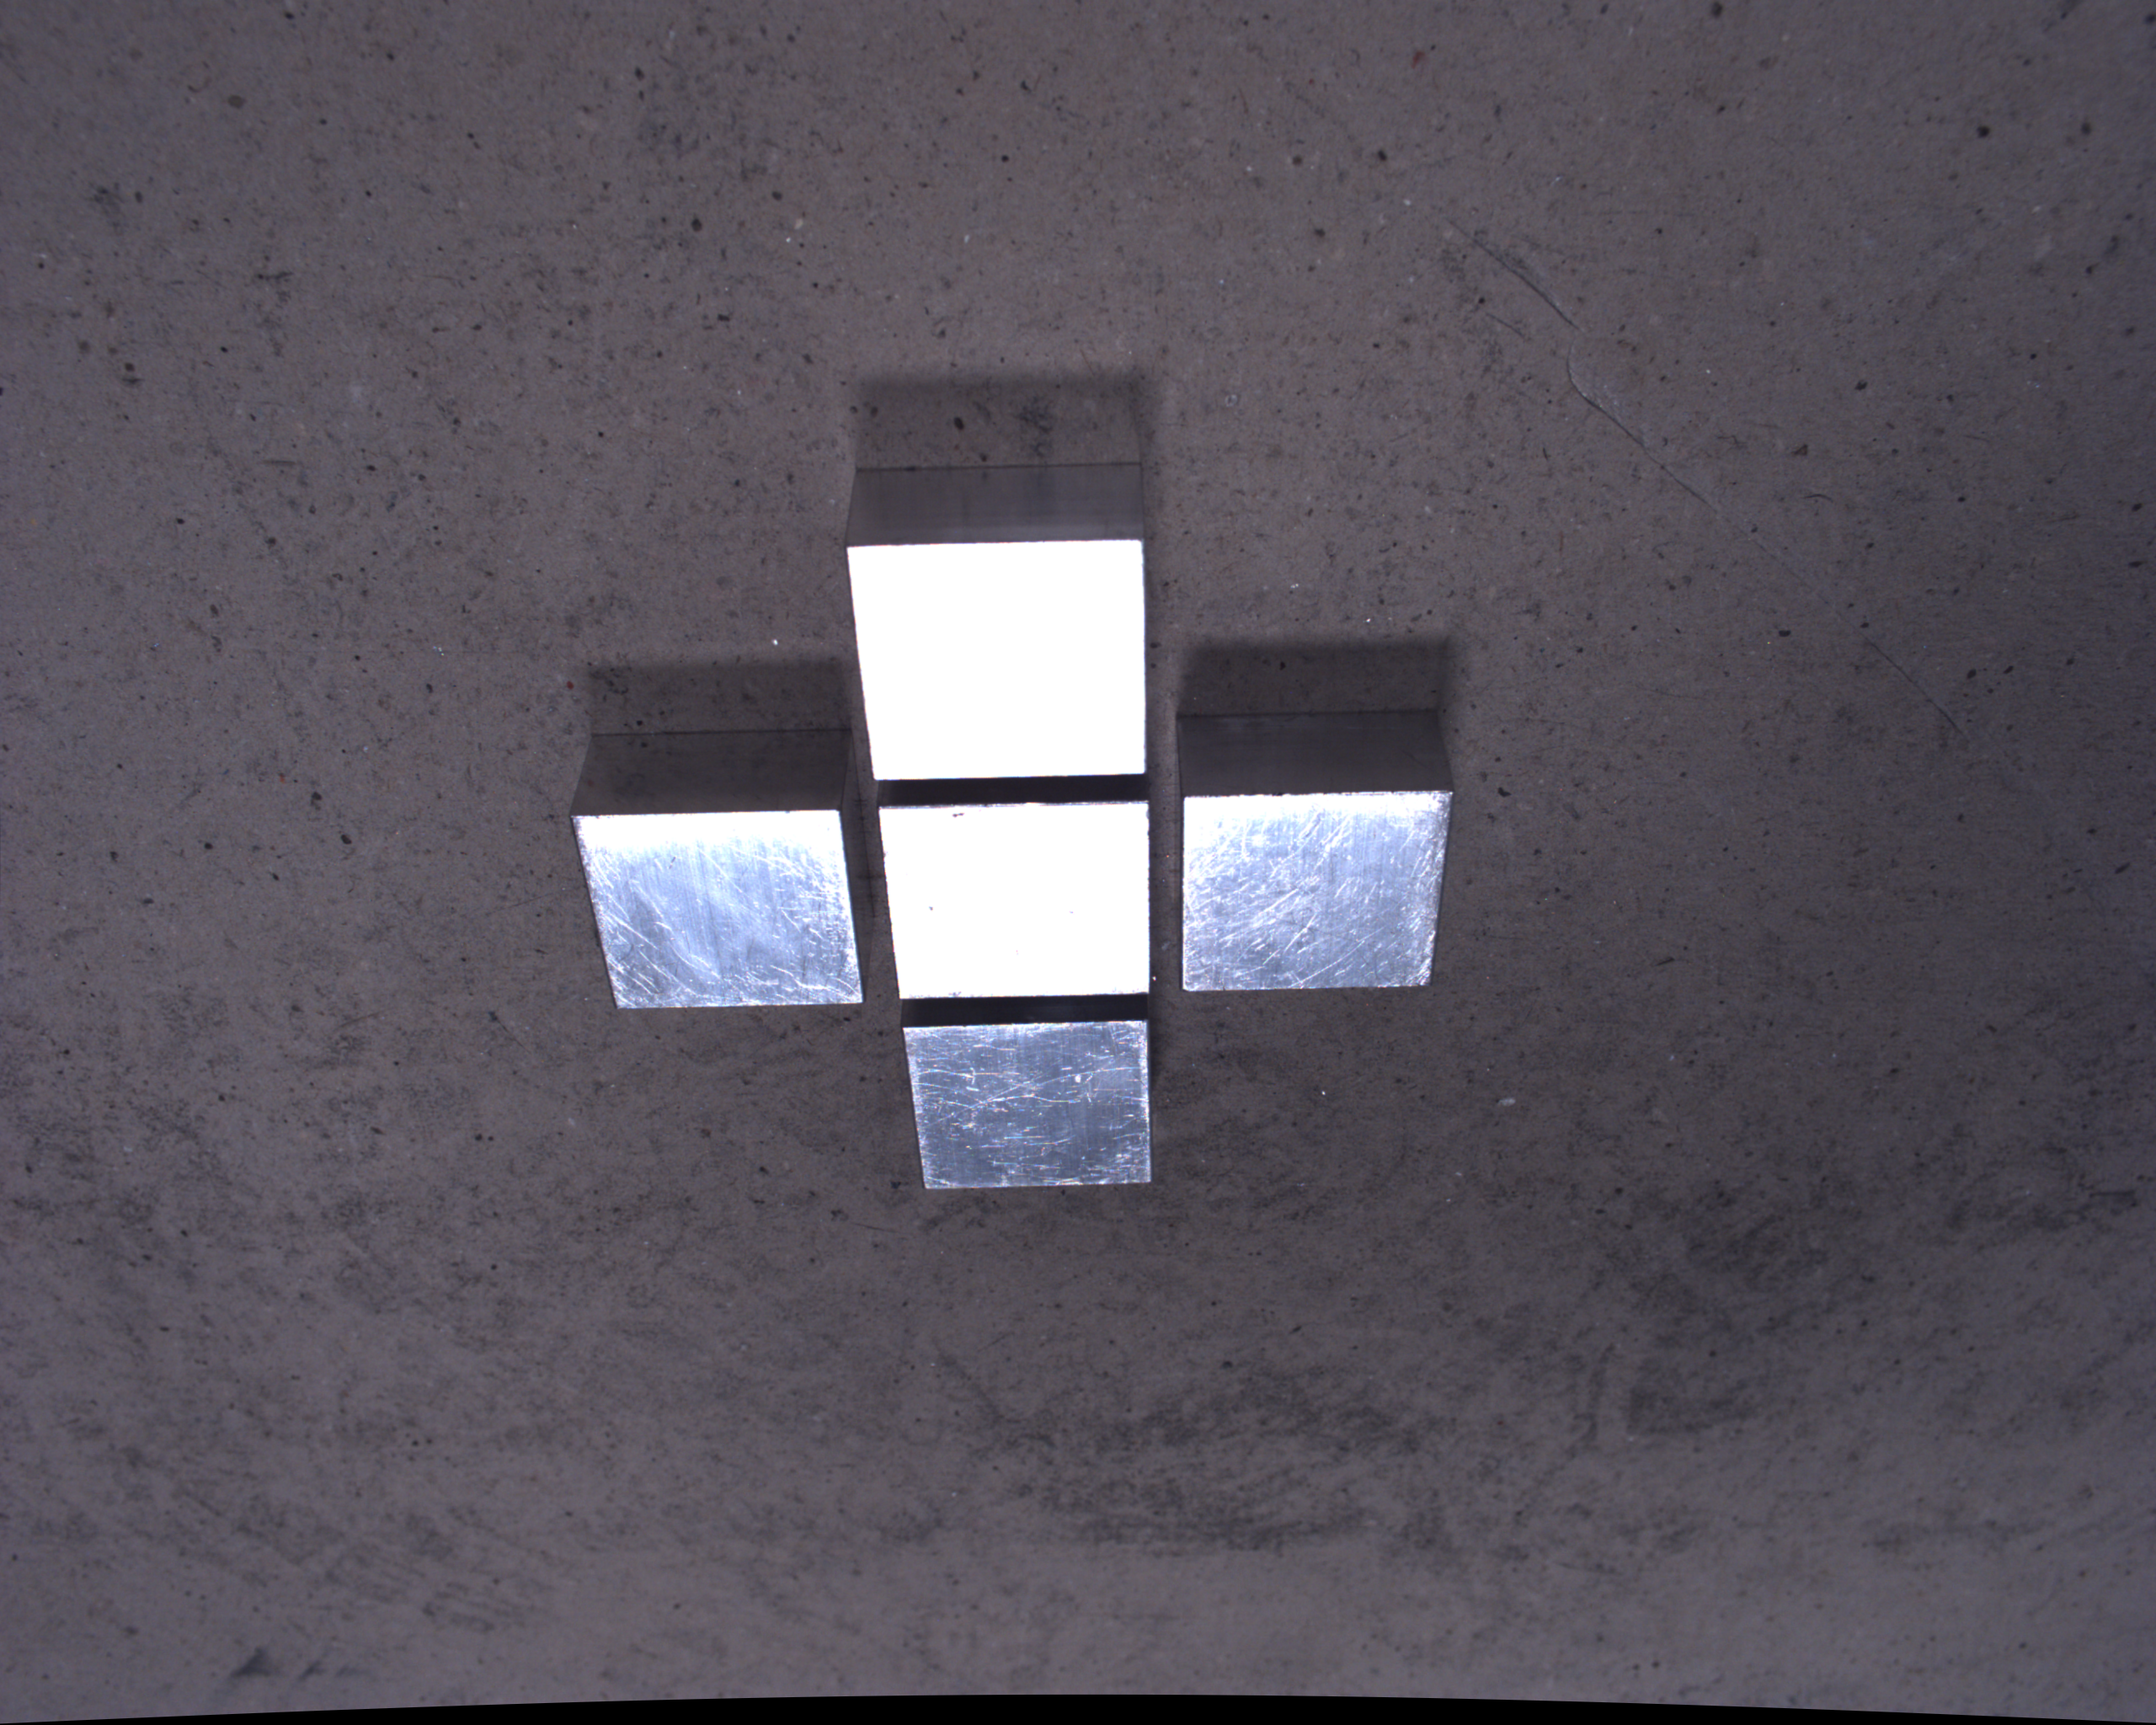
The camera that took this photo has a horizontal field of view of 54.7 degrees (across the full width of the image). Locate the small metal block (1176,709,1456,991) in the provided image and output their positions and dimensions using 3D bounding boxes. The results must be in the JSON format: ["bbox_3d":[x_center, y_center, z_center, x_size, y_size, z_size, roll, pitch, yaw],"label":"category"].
[{"bbox_3d":[0.045,-0.002,0.408,0.050,0.025,0.050,-1,130,0],"label":"small metal block"}]

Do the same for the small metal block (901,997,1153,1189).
[{"bbox_3d":[-0.010,0.043,0.446,0.050,0.025,0.050,-2,130,1],"label":"small metal block"}]

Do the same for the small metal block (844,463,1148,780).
[{"bbox_3d":[-0.013,-0.043,0.372,0.050,0.025,0.050,-1,130,0],"label":"small metal block"}]

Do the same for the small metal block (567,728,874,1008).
[{"bbox_3d":[-0.068,0.002,0.409,0.050,0.025,0.050,-1,130,0],"label":"small metal block"}]

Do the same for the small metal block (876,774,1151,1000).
[{"bbox_3d":[-0.011,0.000,0.409,0.050,0.025,0.050,-1,130,0],"label":"small metal block"}]
